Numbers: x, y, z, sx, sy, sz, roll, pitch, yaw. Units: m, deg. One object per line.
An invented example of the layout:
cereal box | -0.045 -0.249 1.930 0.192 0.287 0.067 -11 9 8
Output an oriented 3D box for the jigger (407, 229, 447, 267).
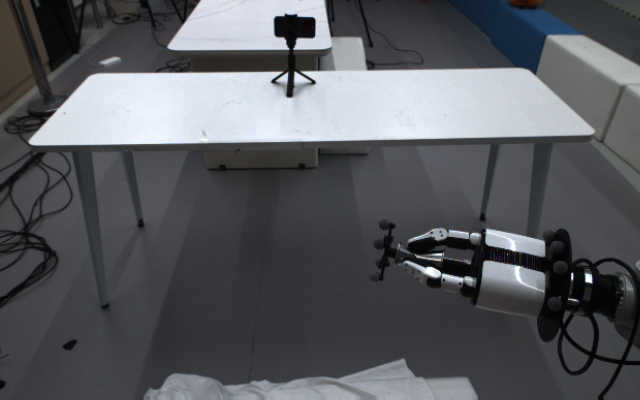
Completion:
jigger | 0.155 0.084 0.723 0.071 0.043 0.043 11 36 16
